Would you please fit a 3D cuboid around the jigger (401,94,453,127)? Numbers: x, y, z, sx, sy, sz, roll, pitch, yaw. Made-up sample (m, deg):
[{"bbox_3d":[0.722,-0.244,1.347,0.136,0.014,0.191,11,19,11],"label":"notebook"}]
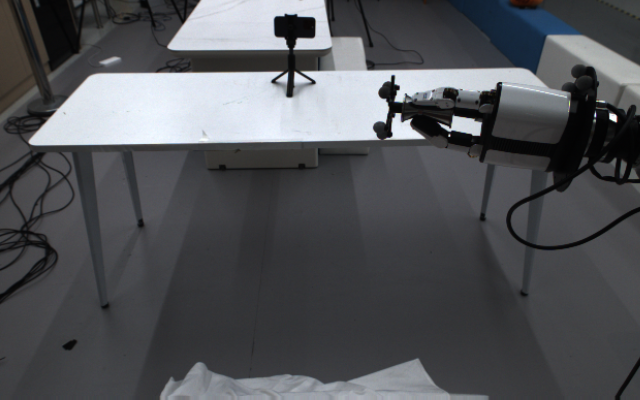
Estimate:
[{"bbox_3d":[0.155,-0.128,0.669,0.071,0.043,0.043,7,35,13],"label":"jigger"}]
